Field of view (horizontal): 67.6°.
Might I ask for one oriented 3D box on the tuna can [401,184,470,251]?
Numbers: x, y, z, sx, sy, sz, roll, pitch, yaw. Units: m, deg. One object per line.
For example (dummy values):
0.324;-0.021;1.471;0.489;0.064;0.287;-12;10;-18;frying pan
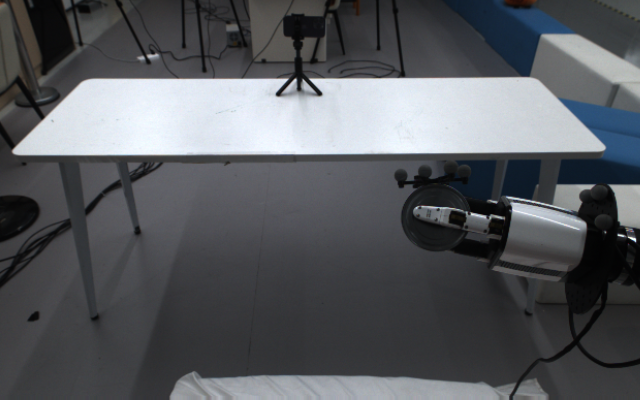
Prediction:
0.148;0.022;0.619;0.085;0.085;0.034;10;-6;11;tuna can
